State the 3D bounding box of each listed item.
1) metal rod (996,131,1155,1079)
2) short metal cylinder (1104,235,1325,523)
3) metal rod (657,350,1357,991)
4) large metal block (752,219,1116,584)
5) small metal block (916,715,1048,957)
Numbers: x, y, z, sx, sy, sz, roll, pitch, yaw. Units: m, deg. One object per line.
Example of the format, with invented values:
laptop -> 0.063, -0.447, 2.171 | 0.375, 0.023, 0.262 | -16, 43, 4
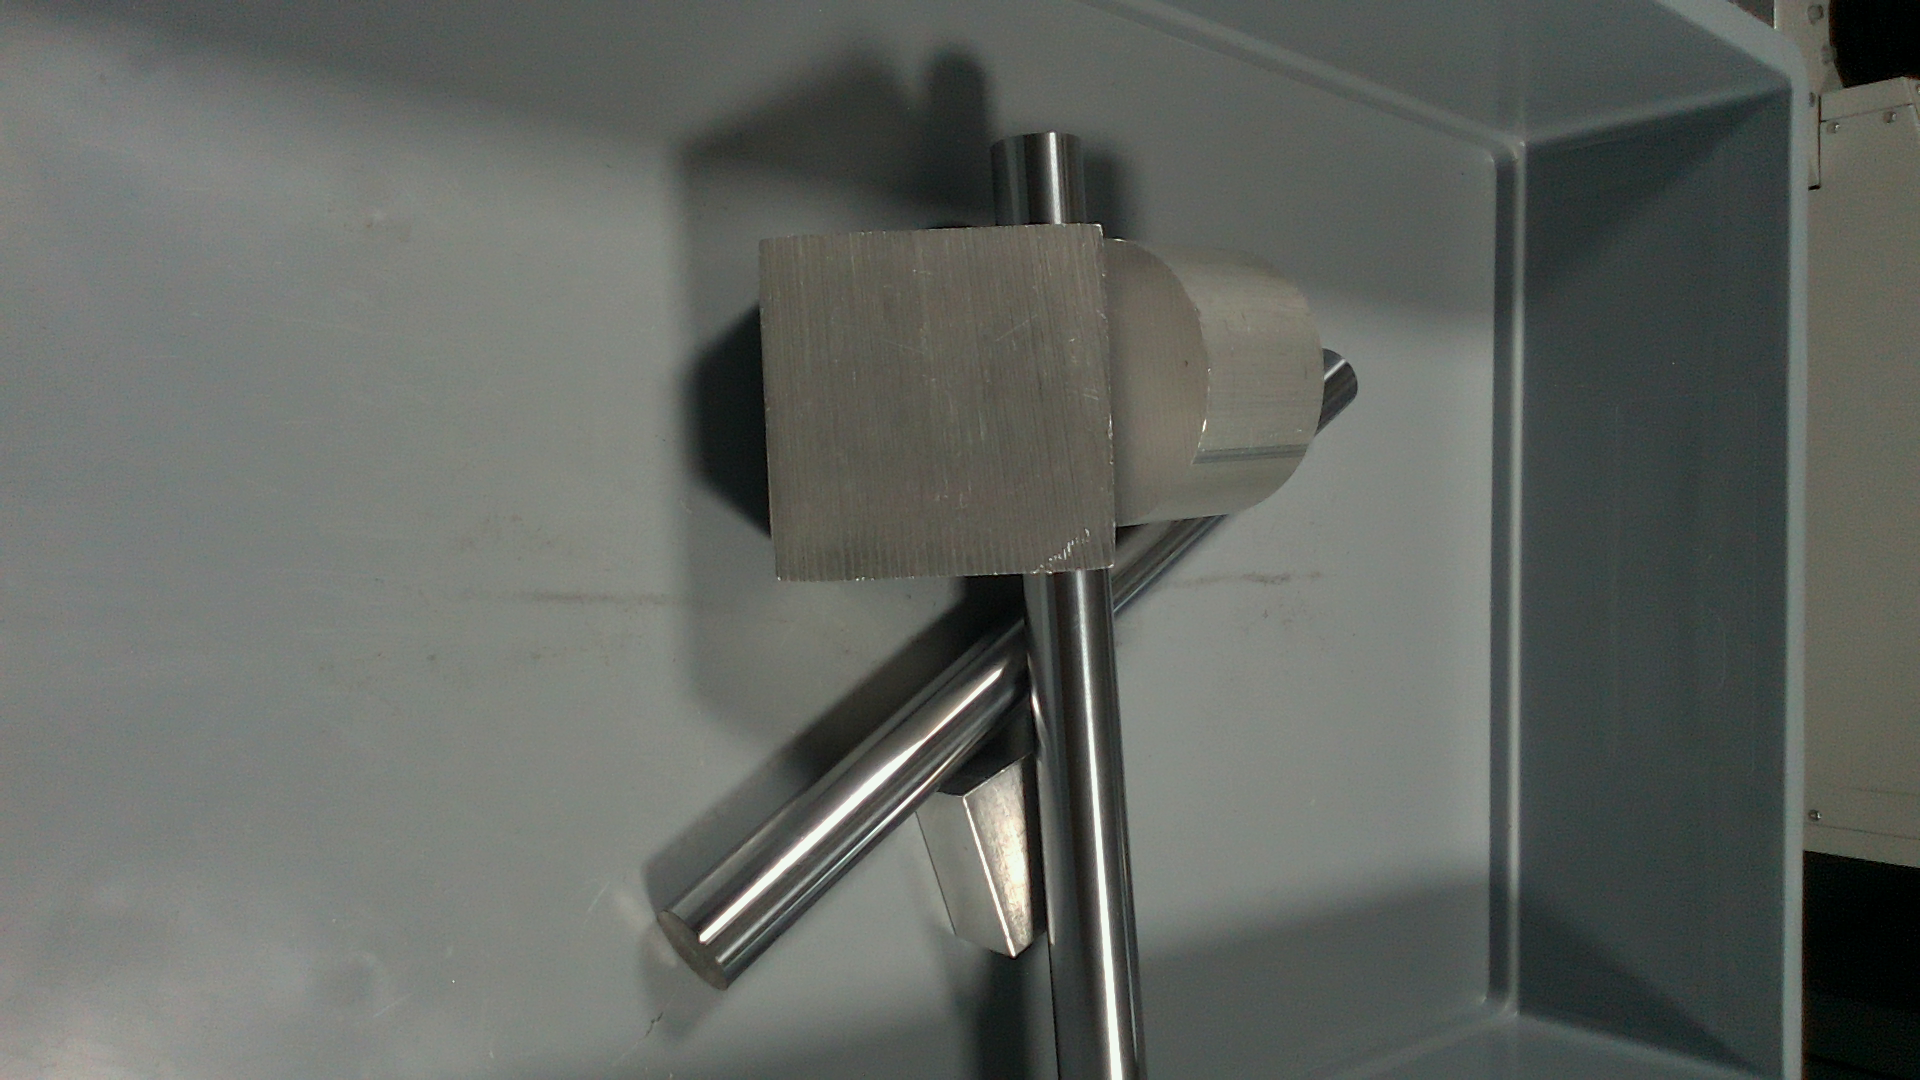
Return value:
metal rod -> 0.034, 0.041, 0.382 | 0.025, 0.025, 0.300 | -6, 93, -40
short metal cylinder -> 0.057, -0.046, 0.398 | 0.050, 0.080, 0.080 | -6, 94, -41
metal rod -> 0.034, 0.021, 0.415 | 0.301, 0.025, 0.025 | -39, 114, -33
large metal block -> -0.005, -0.033, 0.342 | 0.080, 0.050, 0.080 | -3, 92, 1
small metal block -> 0.017, 0.084, 0.402 | 0.050, 0.025, 0.050 | -27, 107, -37
